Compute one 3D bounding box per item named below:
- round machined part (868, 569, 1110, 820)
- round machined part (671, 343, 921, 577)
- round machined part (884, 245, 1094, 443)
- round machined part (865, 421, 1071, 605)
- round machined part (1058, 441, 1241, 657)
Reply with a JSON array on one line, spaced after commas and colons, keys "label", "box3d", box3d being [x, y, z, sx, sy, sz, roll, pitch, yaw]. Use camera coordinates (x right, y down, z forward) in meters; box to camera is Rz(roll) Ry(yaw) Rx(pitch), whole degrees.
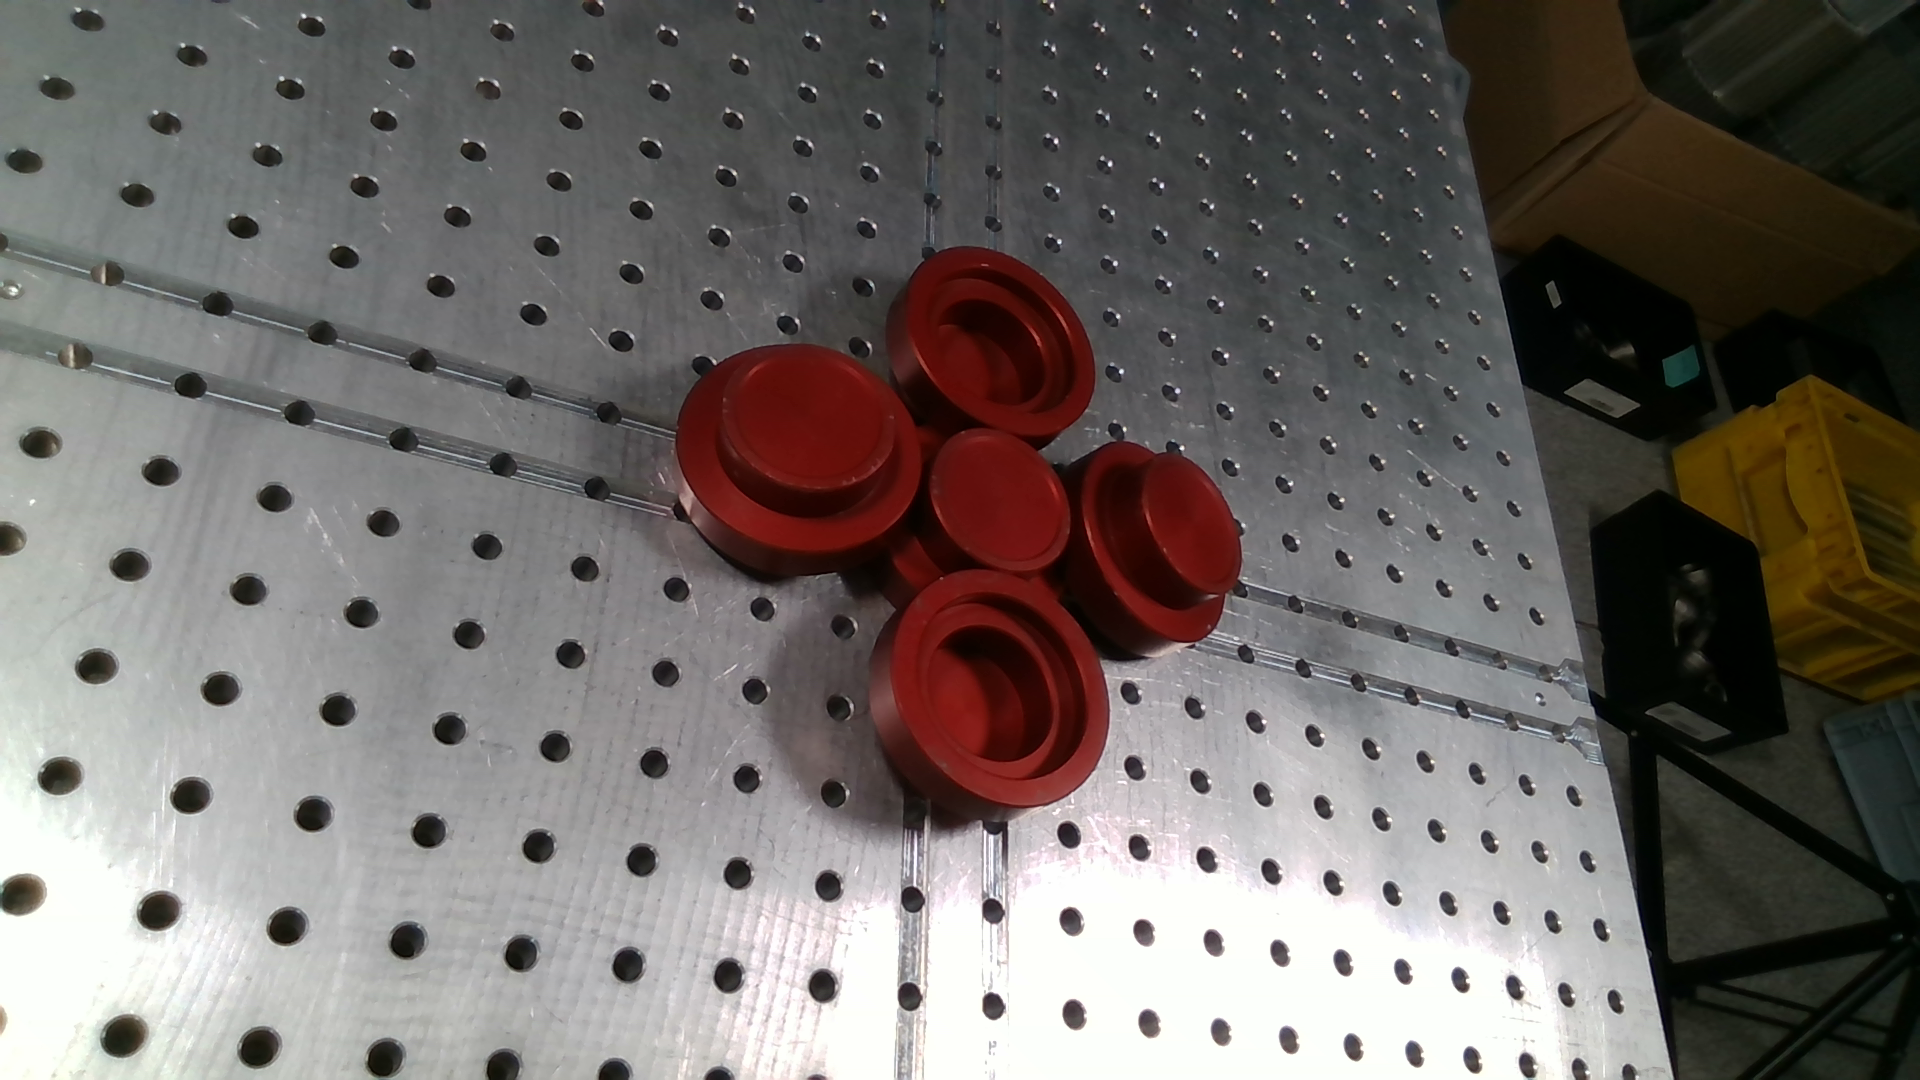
[{"label": "round machined part", "box3d": [0.007, 0.064, 0.548, 0.098, 0.042, 0.098, 14, 59, -25]}, {"label": "round machined part", "box3d": [-0.063, -0.038, 0.545, 0.098, 0.042, 0.098, 7, 61, -12]}, {"label": "round machined part", "box3d": [0.009, -0.082, 0.627, 0.098, 0.042, 0.098, 14, 59, -25]}, {"label": "round machined part", "box3d": [0.008, -0.010, 0.587, 0.098, 0.042, 0.098, 14, 59, -25]}, {"label": "round machined part", "box3d": [0.089, 0.000, 0.618, 0.098, 0.042, 0.098, 25, 51, -36]}]
